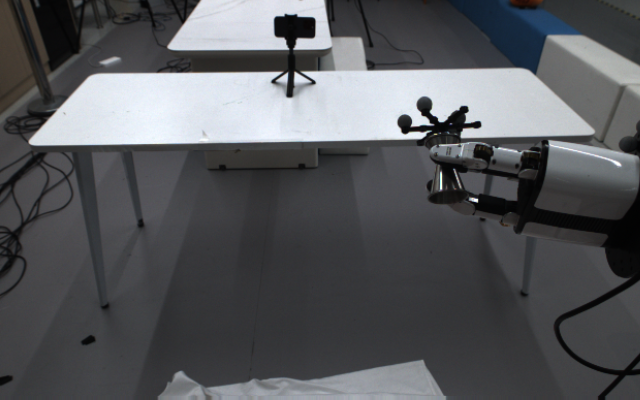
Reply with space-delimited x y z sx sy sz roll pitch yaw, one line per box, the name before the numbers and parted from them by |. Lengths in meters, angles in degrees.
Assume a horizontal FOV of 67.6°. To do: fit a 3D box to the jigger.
jigger | 0.137 -0.036 0.529 0.043 0.043 0.071 1 70 -2
